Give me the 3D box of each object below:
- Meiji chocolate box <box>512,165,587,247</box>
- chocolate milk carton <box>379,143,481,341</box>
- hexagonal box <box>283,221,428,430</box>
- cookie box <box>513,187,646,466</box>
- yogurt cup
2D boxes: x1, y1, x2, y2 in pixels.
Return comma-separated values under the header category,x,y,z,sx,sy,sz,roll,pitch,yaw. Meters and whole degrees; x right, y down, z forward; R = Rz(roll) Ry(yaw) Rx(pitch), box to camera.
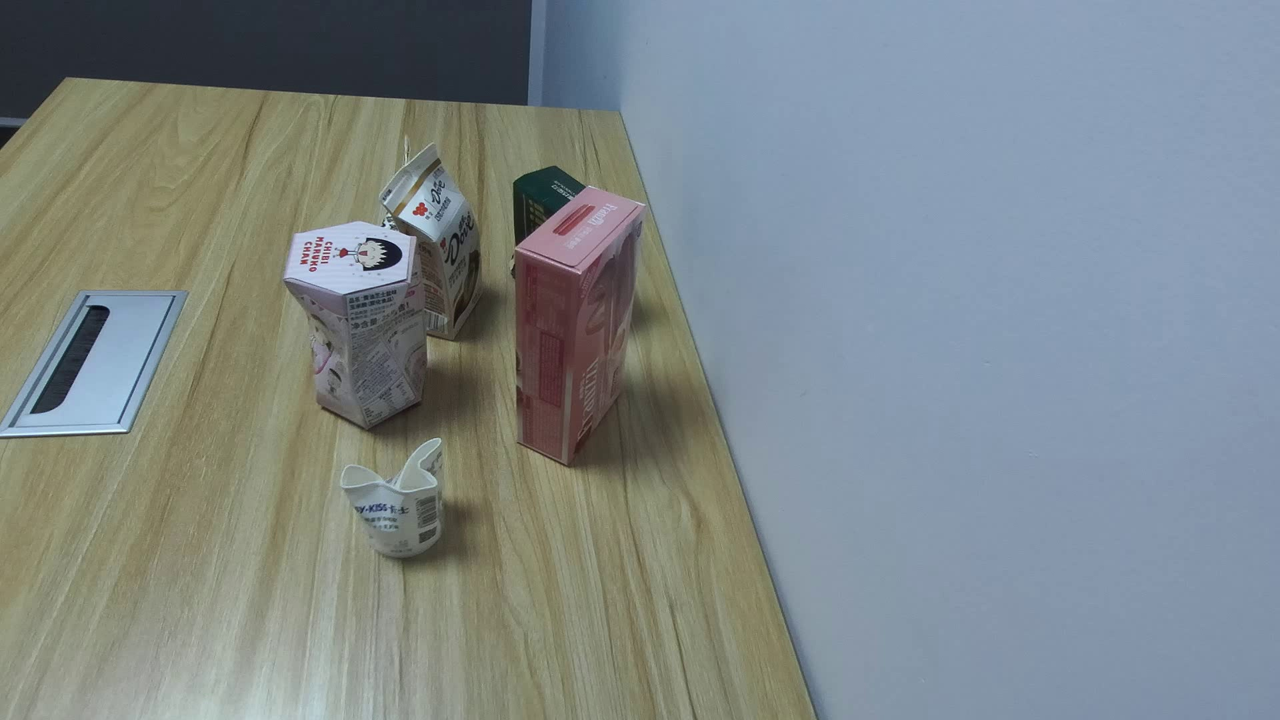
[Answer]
category,x,y,z,sx,sy,sz,roll,pitch,yaw
Meiji chocolate box,-0.064,-0.104,0.650,0.059,0.116,0.122,-30,58,-32
chocolate milk carton,-0.183,-0.104,0.598,0.073,0.155,0.076,13,44,5
hexagonal box,-0.207,-0.027,0.528,0.088,0.134,0.093,39,50,26
cookie box,-0.046,-0.020,0.514,0.048,0.184,0.096,21,45,13
yogurt cup,-0.157,0.090,0.461,0.055,0.072,0.055,4,46,-6
